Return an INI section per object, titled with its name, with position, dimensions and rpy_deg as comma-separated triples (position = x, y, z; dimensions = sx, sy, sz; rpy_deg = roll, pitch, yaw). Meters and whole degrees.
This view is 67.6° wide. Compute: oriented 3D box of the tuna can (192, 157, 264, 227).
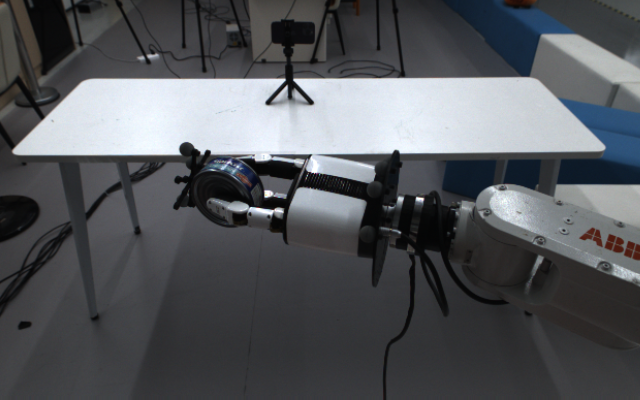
[tuna can]
position = -0.110, -0.004, 0.592
dimensions = 0.085, 0.085, 0.034
rpy_deg = 11, 35, 13
